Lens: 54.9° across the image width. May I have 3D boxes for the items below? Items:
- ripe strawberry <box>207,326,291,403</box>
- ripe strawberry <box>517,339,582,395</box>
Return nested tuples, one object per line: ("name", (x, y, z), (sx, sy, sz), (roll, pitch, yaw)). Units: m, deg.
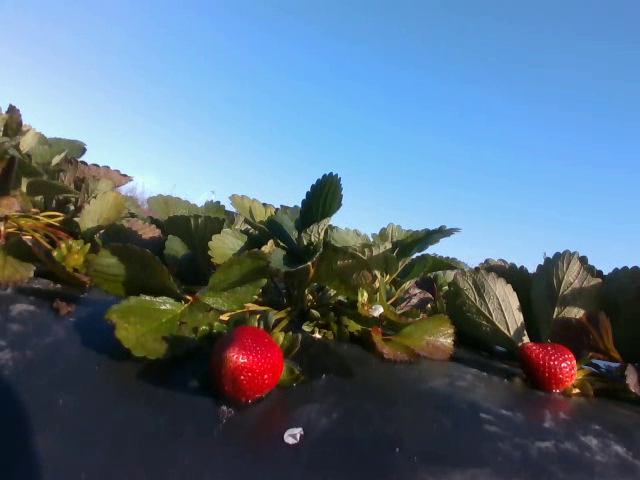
("ripe strawberry", (-0.038, 0.059, 0.297), (0.045, 0.042, 0.055), (24, -9, 10))
("ripe strawberry", (0.137, 0.073, 0.371), (0.046, 0.036, 0.035), (25, 20, 1))
